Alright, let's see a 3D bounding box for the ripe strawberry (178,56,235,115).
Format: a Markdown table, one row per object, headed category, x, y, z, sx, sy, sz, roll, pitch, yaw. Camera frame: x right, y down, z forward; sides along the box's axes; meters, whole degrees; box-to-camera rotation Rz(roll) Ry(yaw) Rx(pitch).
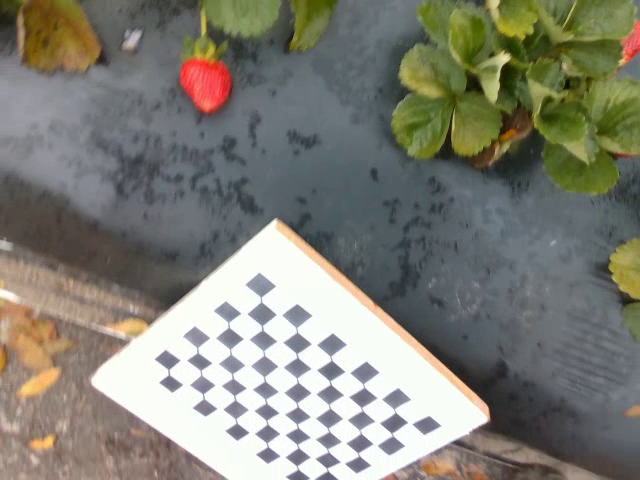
| category | x | y | z | sx | sy | sz | roll | pitch | yaw |
| --- | --- | --- | --- | --- | --- | --- | --- | --- | --- |
| ripe strawberry | -0.093 | -0.128 | 0.528 | 0.045 | 0.053 | 0.048 | -1 | -15 | 10 |
